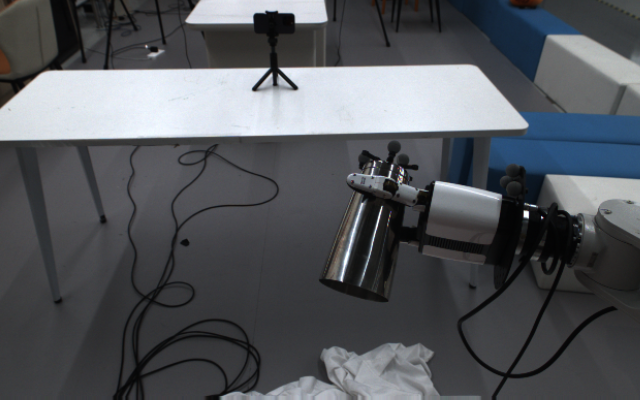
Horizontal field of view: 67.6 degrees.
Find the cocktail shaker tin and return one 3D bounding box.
[{"bbox_3d":[0.068,0.036,0.637,0.093,0.093,0.170,13,71,15],"label":"cocktail shaker tin"}]
